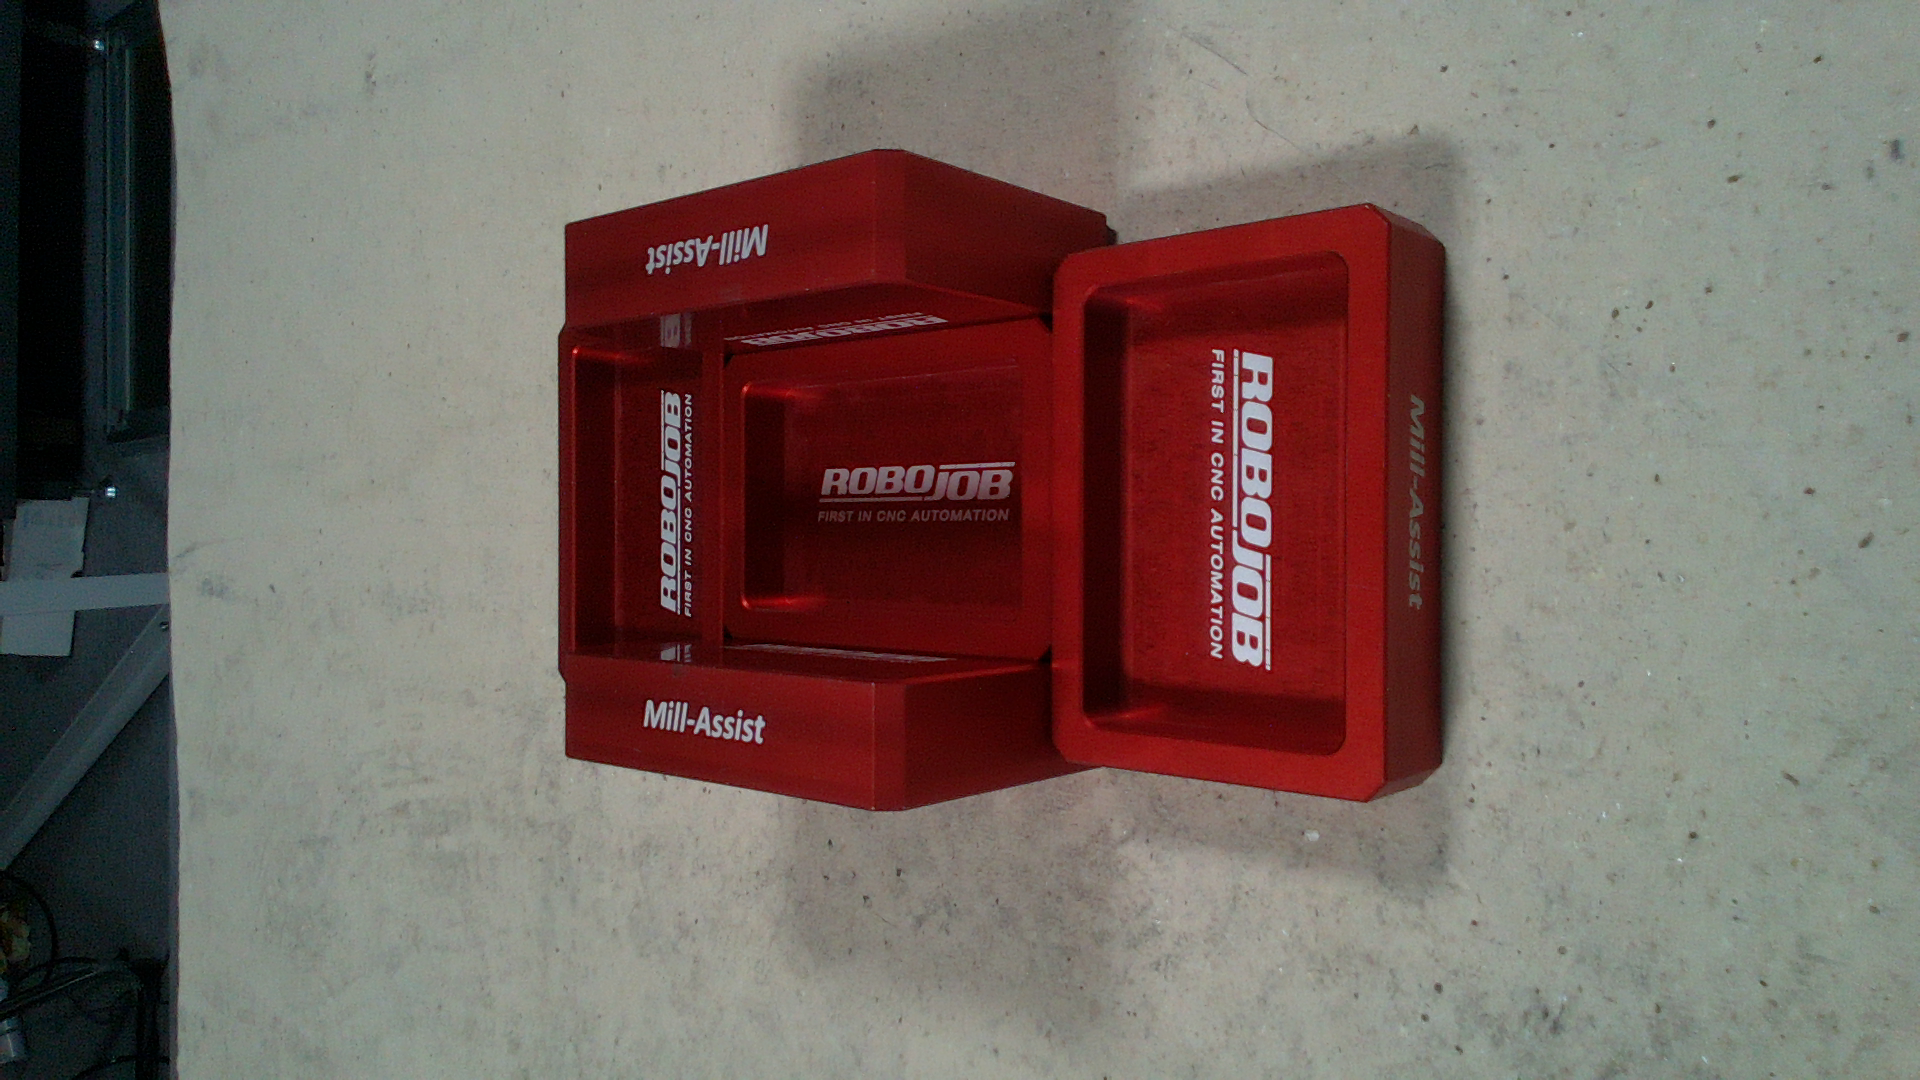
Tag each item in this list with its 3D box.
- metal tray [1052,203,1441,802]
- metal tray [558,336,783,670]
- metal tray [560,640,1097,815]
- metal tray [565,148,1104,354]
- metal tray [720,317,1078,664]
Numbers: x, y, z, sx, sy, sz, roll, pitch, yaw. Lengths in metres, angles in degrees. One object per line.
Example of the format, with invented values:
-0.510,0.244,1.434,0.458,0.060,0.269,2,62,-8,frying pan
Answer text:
0.067,-0.008,0.335,0.090,0.030,0.130,0,90,40,metal tray
-0.101,-0.013,0.476,0.090,0.030,0.130,0,90,40,metal tray
-0.037,0.047,0.382,0.129,0.090,0.030,0,90,40,metal tray
-0.036,-0.074,0.383,0.129,0.090,0.030,0,90,40,metal tray
-0.017,-0.014,0.406,0.129,0.030,0.090,1,91,40,metal tray
